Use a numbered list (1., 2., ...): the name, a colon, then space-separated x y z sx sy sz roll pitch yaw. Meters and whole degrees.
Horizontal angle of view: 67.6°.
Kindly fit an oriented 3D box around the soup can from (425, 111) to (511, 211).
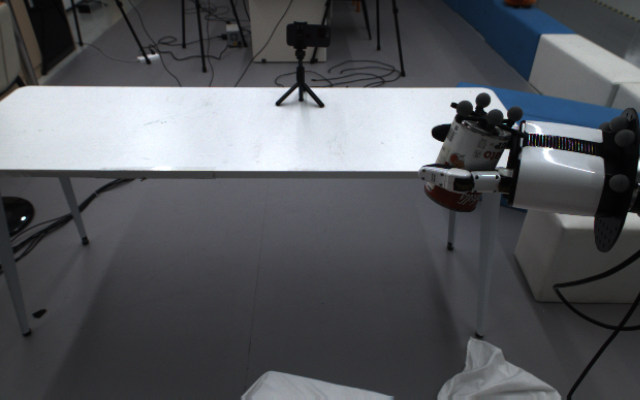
1. soup can: 0.176 -0.046 0.577 0.067 0.101 0.067 13 30 -8
